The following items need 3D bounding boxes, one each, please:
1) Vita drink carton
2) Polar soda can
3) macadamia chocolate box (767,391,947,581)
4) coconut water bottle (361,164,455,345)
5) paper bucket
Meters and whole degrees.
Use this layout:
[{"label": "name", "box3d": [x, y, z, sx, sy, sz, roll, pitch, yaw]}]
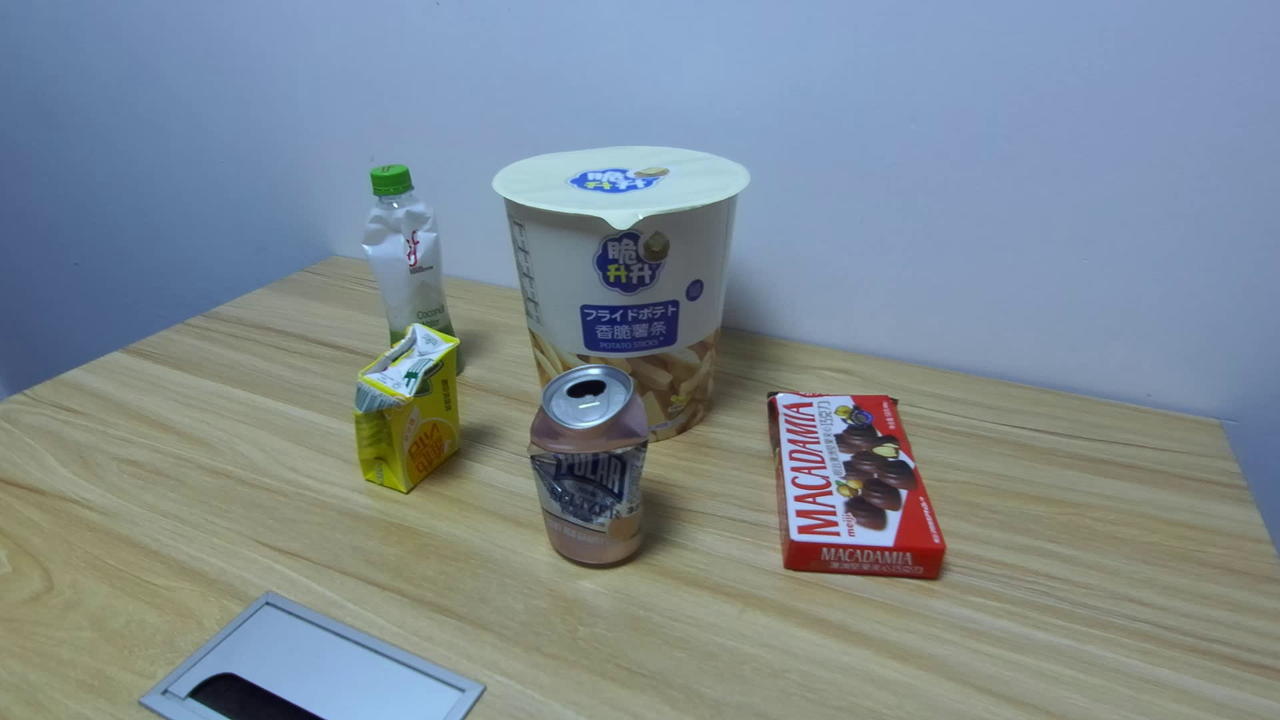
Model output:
[{"label": "Vita drink carton", "box3d": [-0.164, 0.037, 0.510, 0.042, 0.108, 0.087, 25, 40, 16]}, {"label": "Polar soda can", "box3d": [-0.031, 0.069, 0.437, 0.071, 0.122, 0.066, -11, 35, -15]}, {"label": "macadamia chocolate box", "box3d": [0.147, 0.078, 0.505, 0.105, 0.028, 0.183, 2, 29, 6]}, {"label": "coconut water bottle", "box3d": [-0.199, -0.072, 0.617, 0.069, 0.186, 0.069, 0, 29, 1]}, {"label": "paper bucket", "box3d": [-0.010, -0.054, 0.572, 0.198, 0.195, 0.198, -1, 29, 1]}]
